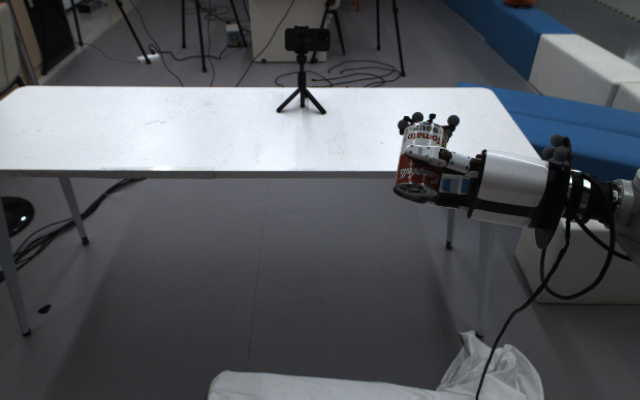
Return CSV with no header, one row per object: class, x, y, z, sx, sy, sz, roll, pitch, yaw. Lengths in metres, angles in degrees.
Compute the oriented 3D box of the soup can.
soup can,0.152,-0.059,0.722,0.067,0.067,0.101,9,72,10
